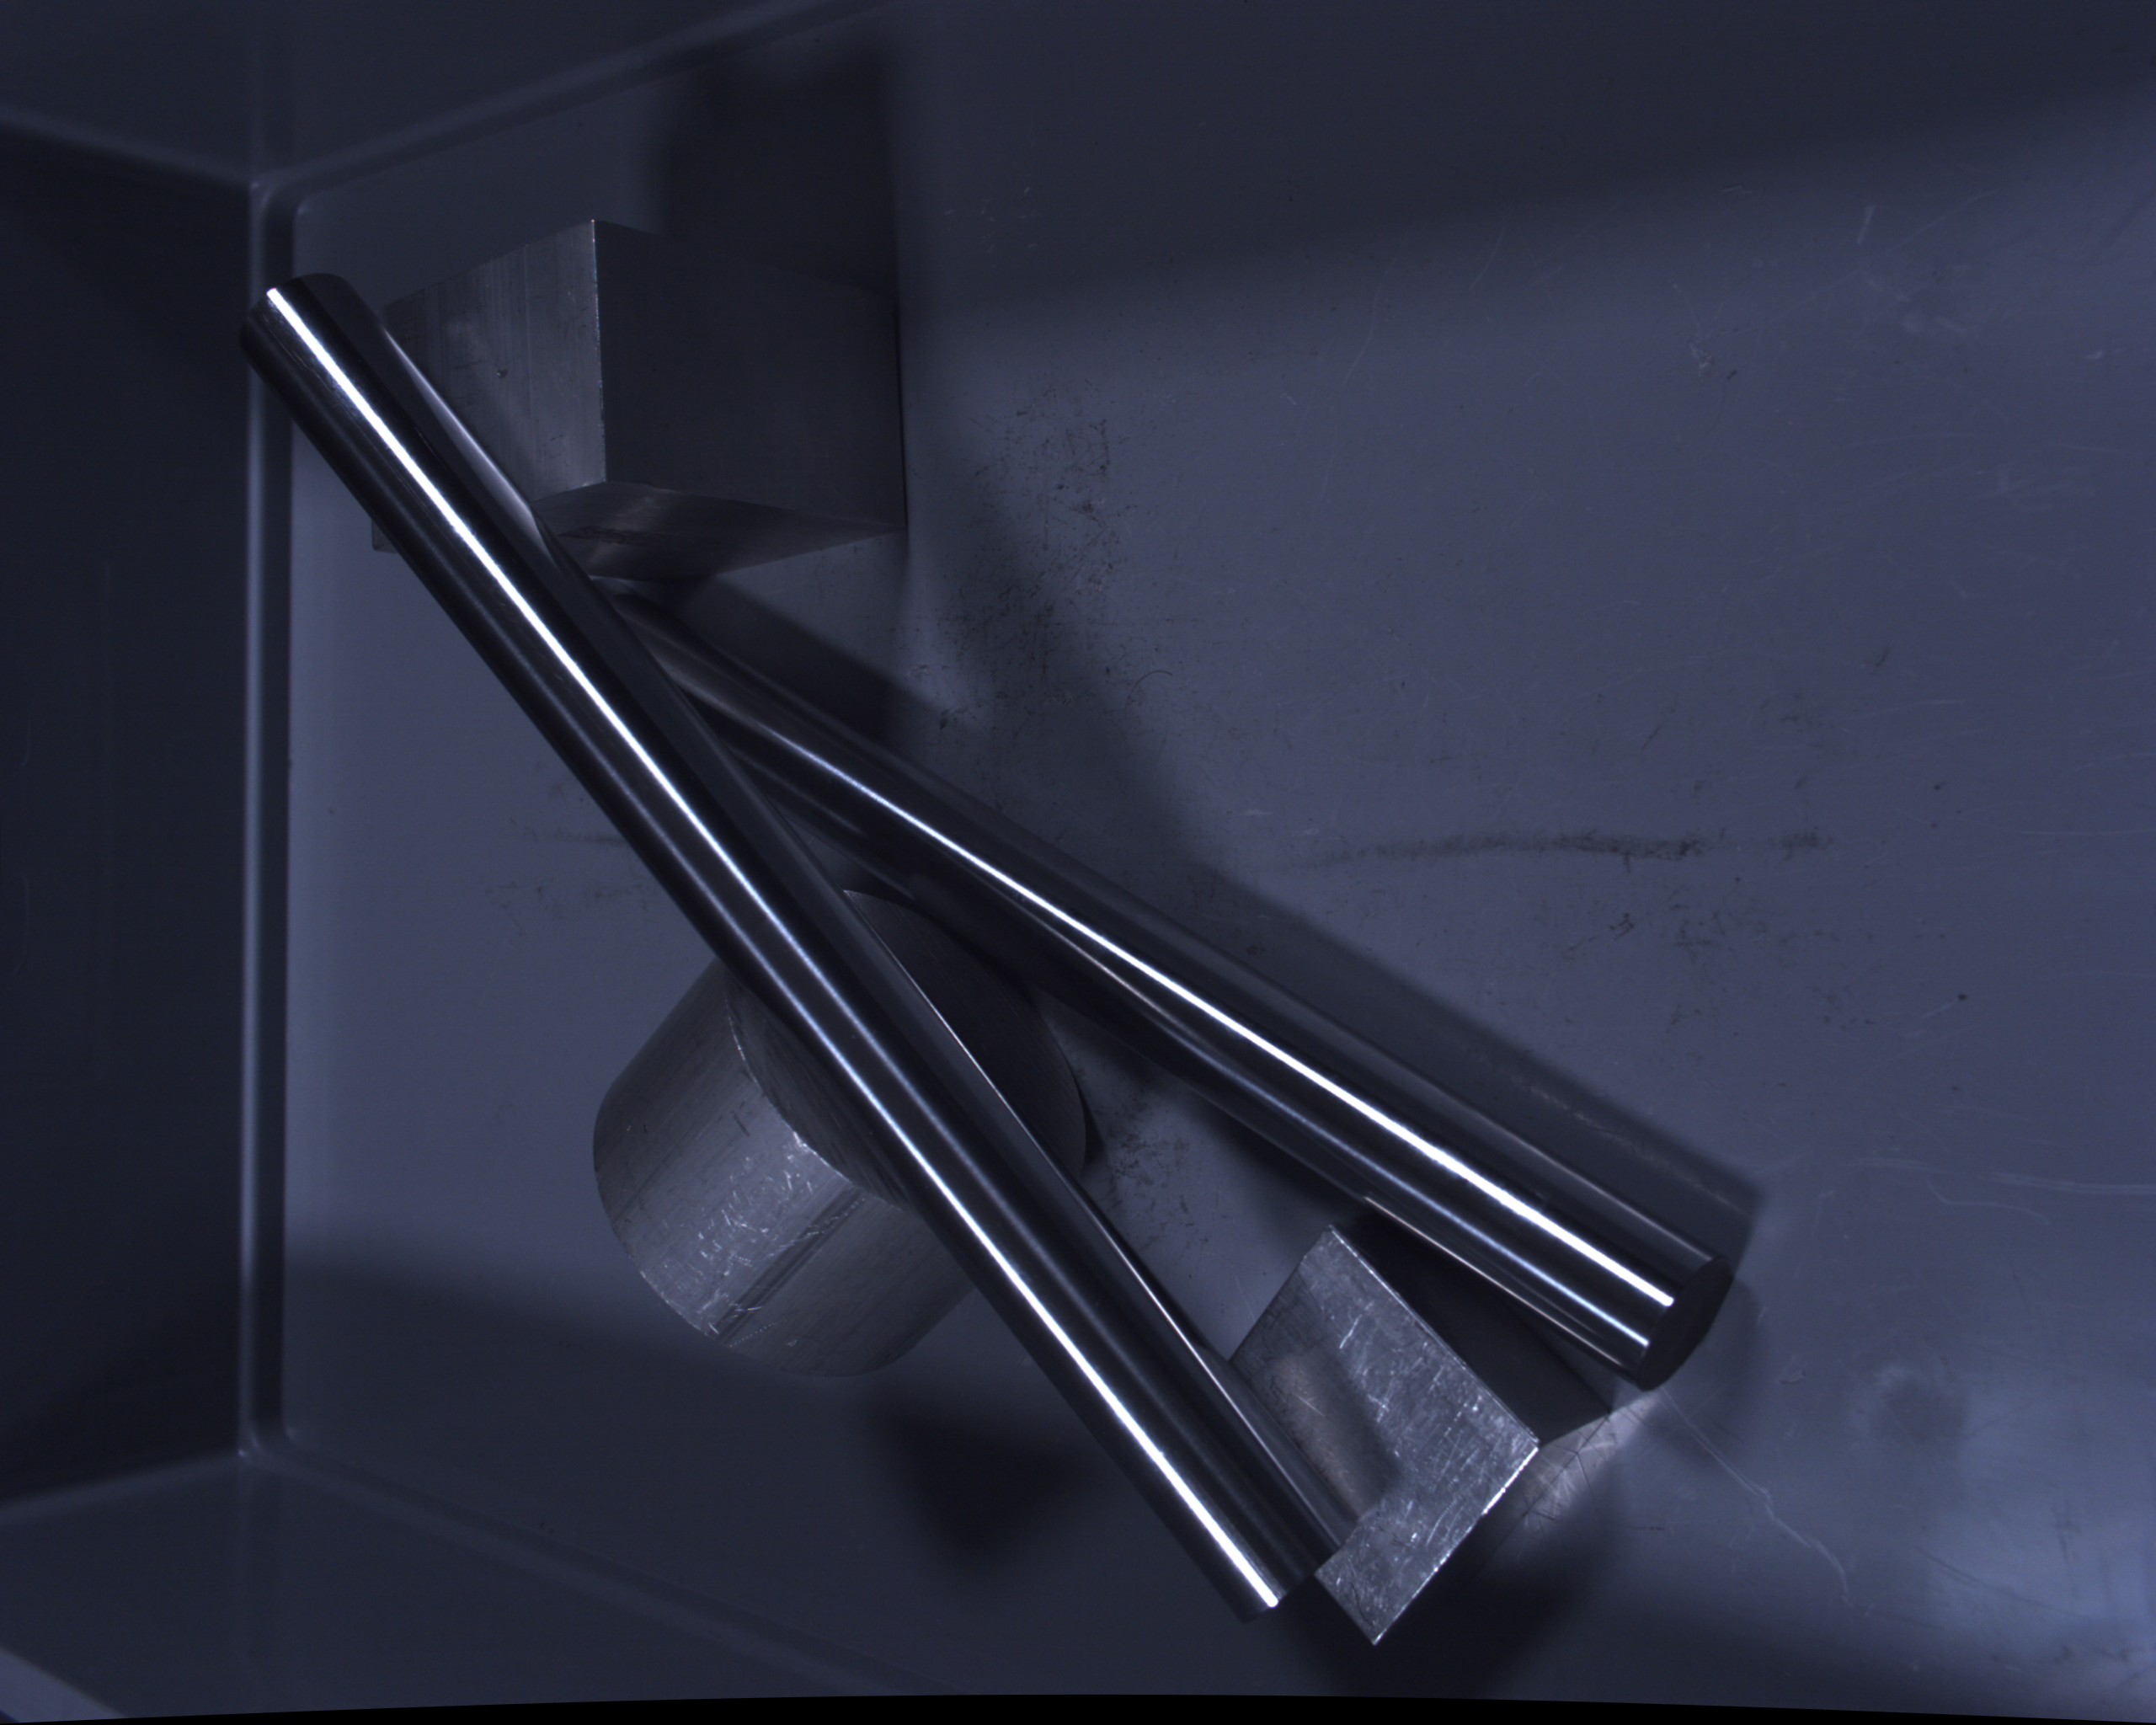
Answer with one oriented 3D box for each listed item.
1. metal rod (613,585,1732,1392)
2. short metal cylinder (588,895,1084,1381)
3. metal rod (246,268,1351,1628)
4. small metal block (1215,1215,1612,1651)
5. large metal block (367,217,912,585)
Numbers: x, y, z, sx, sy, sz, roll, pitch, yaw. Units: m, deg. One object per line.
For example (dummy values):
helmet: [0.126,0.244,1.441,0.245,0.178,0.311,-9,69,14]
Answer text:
metal rod: [-0.010,0.008,0.412,0.300,0.025,0.025,31,109,35]
short metal cylinder: [-0.046,0.052,0.404,0.050,0.081,0.080,-47,62,29]
metal rod: [-0.058,0.005,0.375,0.300,0.025,0.025,50,120,13]
small metal block: [0.054,0.096,0.359,0.050,0.025,0.050,45,117,30]
large metal block: [-0.094,-0.094,0.445,0.080,0.081,0.050,-5,87,39]
